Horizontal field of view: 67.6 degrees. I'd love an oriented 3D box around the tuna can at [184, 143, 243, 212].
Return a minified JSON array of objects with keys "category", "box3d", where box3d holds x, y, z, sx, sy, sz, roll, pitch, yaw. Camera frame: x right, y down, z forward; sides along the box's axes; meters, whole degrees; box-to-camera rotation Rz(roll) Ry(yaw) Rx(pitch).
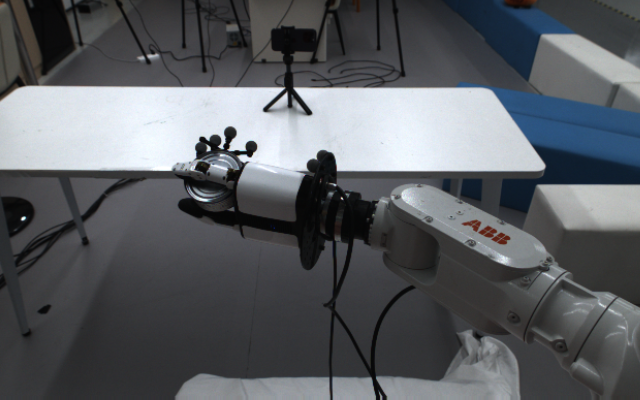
[{"category":"tuna can","box3d":[-0.146,-0.027,0.684,0.085,0.034,0.085,-6,59,10]}]
